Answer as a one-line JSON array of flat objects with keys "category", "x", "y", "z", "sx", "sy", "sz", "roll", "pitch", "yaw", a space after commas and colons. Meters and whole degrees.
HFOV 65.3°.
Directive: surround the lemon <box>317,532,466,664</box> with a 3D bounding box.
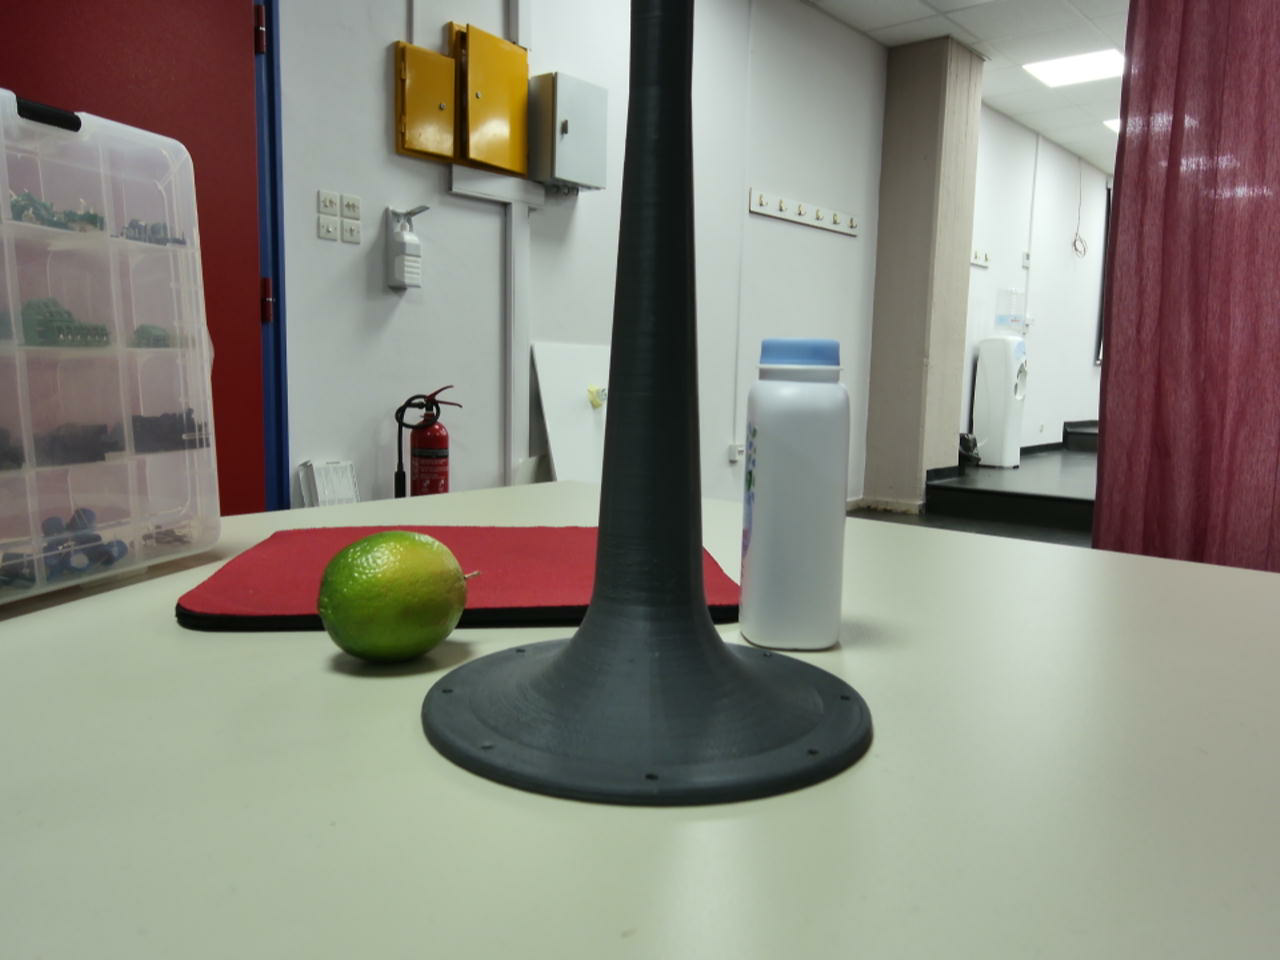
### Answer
[{"category": "lemon", "x": -0.097, "y": 0.045, "z": 0.393, "sx": 0.055, "sy": 0.050, "sz": 0.054, "roll": 0, "pitch": 4, "yaw": 0}]
